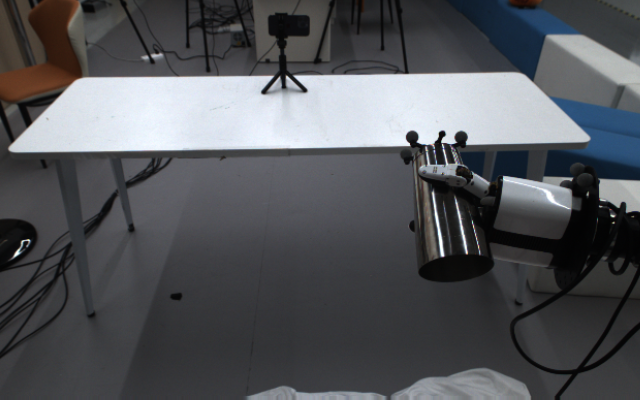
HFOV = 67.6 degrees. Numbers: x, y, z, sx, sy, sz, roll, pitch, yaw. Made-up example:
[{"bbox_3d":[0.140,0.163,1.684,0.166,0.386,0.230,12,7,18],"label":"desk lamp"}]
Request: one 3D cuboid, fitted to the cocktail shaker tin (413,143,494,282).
[{"bbox_3d":[0.165,0.011,0.635,0.093,0.093,0.170,0,59,-3],"label":"cocktail shaker tin"}]
